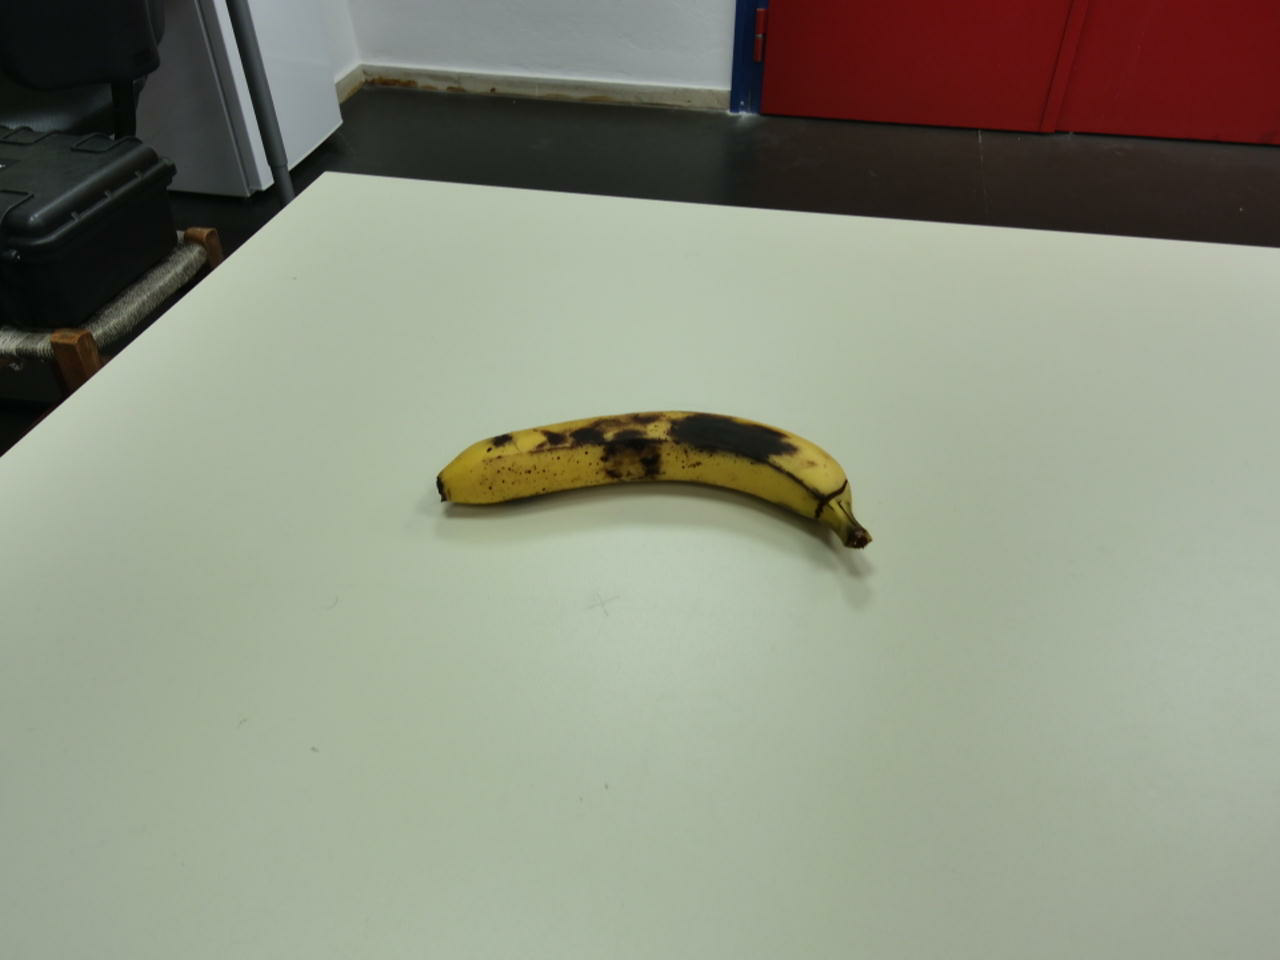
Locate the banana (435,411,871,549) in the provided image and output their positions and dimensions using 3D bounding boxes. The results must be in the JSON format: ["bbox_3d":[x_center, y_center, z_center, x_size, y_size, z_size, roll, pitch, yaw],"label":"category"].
[{"bbox_3d":[0.010,-0.007,0.525,0.222,0.037,0.084,8,40,10],"label":"banana"}]
